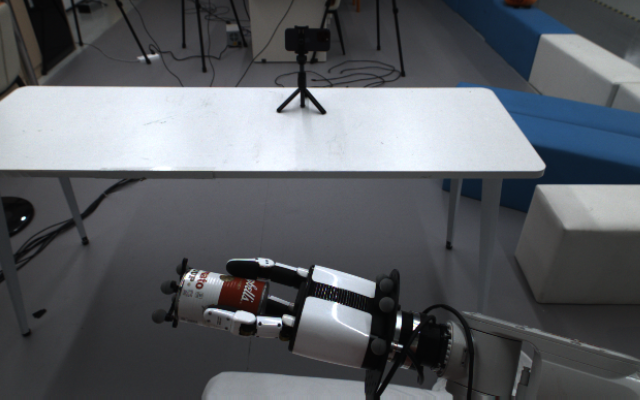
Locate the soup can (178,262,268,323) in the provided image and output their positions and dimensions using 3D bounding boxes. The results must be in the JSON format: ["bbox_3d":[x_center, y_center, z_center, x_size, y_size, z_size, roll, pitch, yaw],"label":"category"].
[{"bbox_3d":[-0.117,0.128,0.602,0.101,0.067,0.067,10,35,0],"label":"soup can"}]
